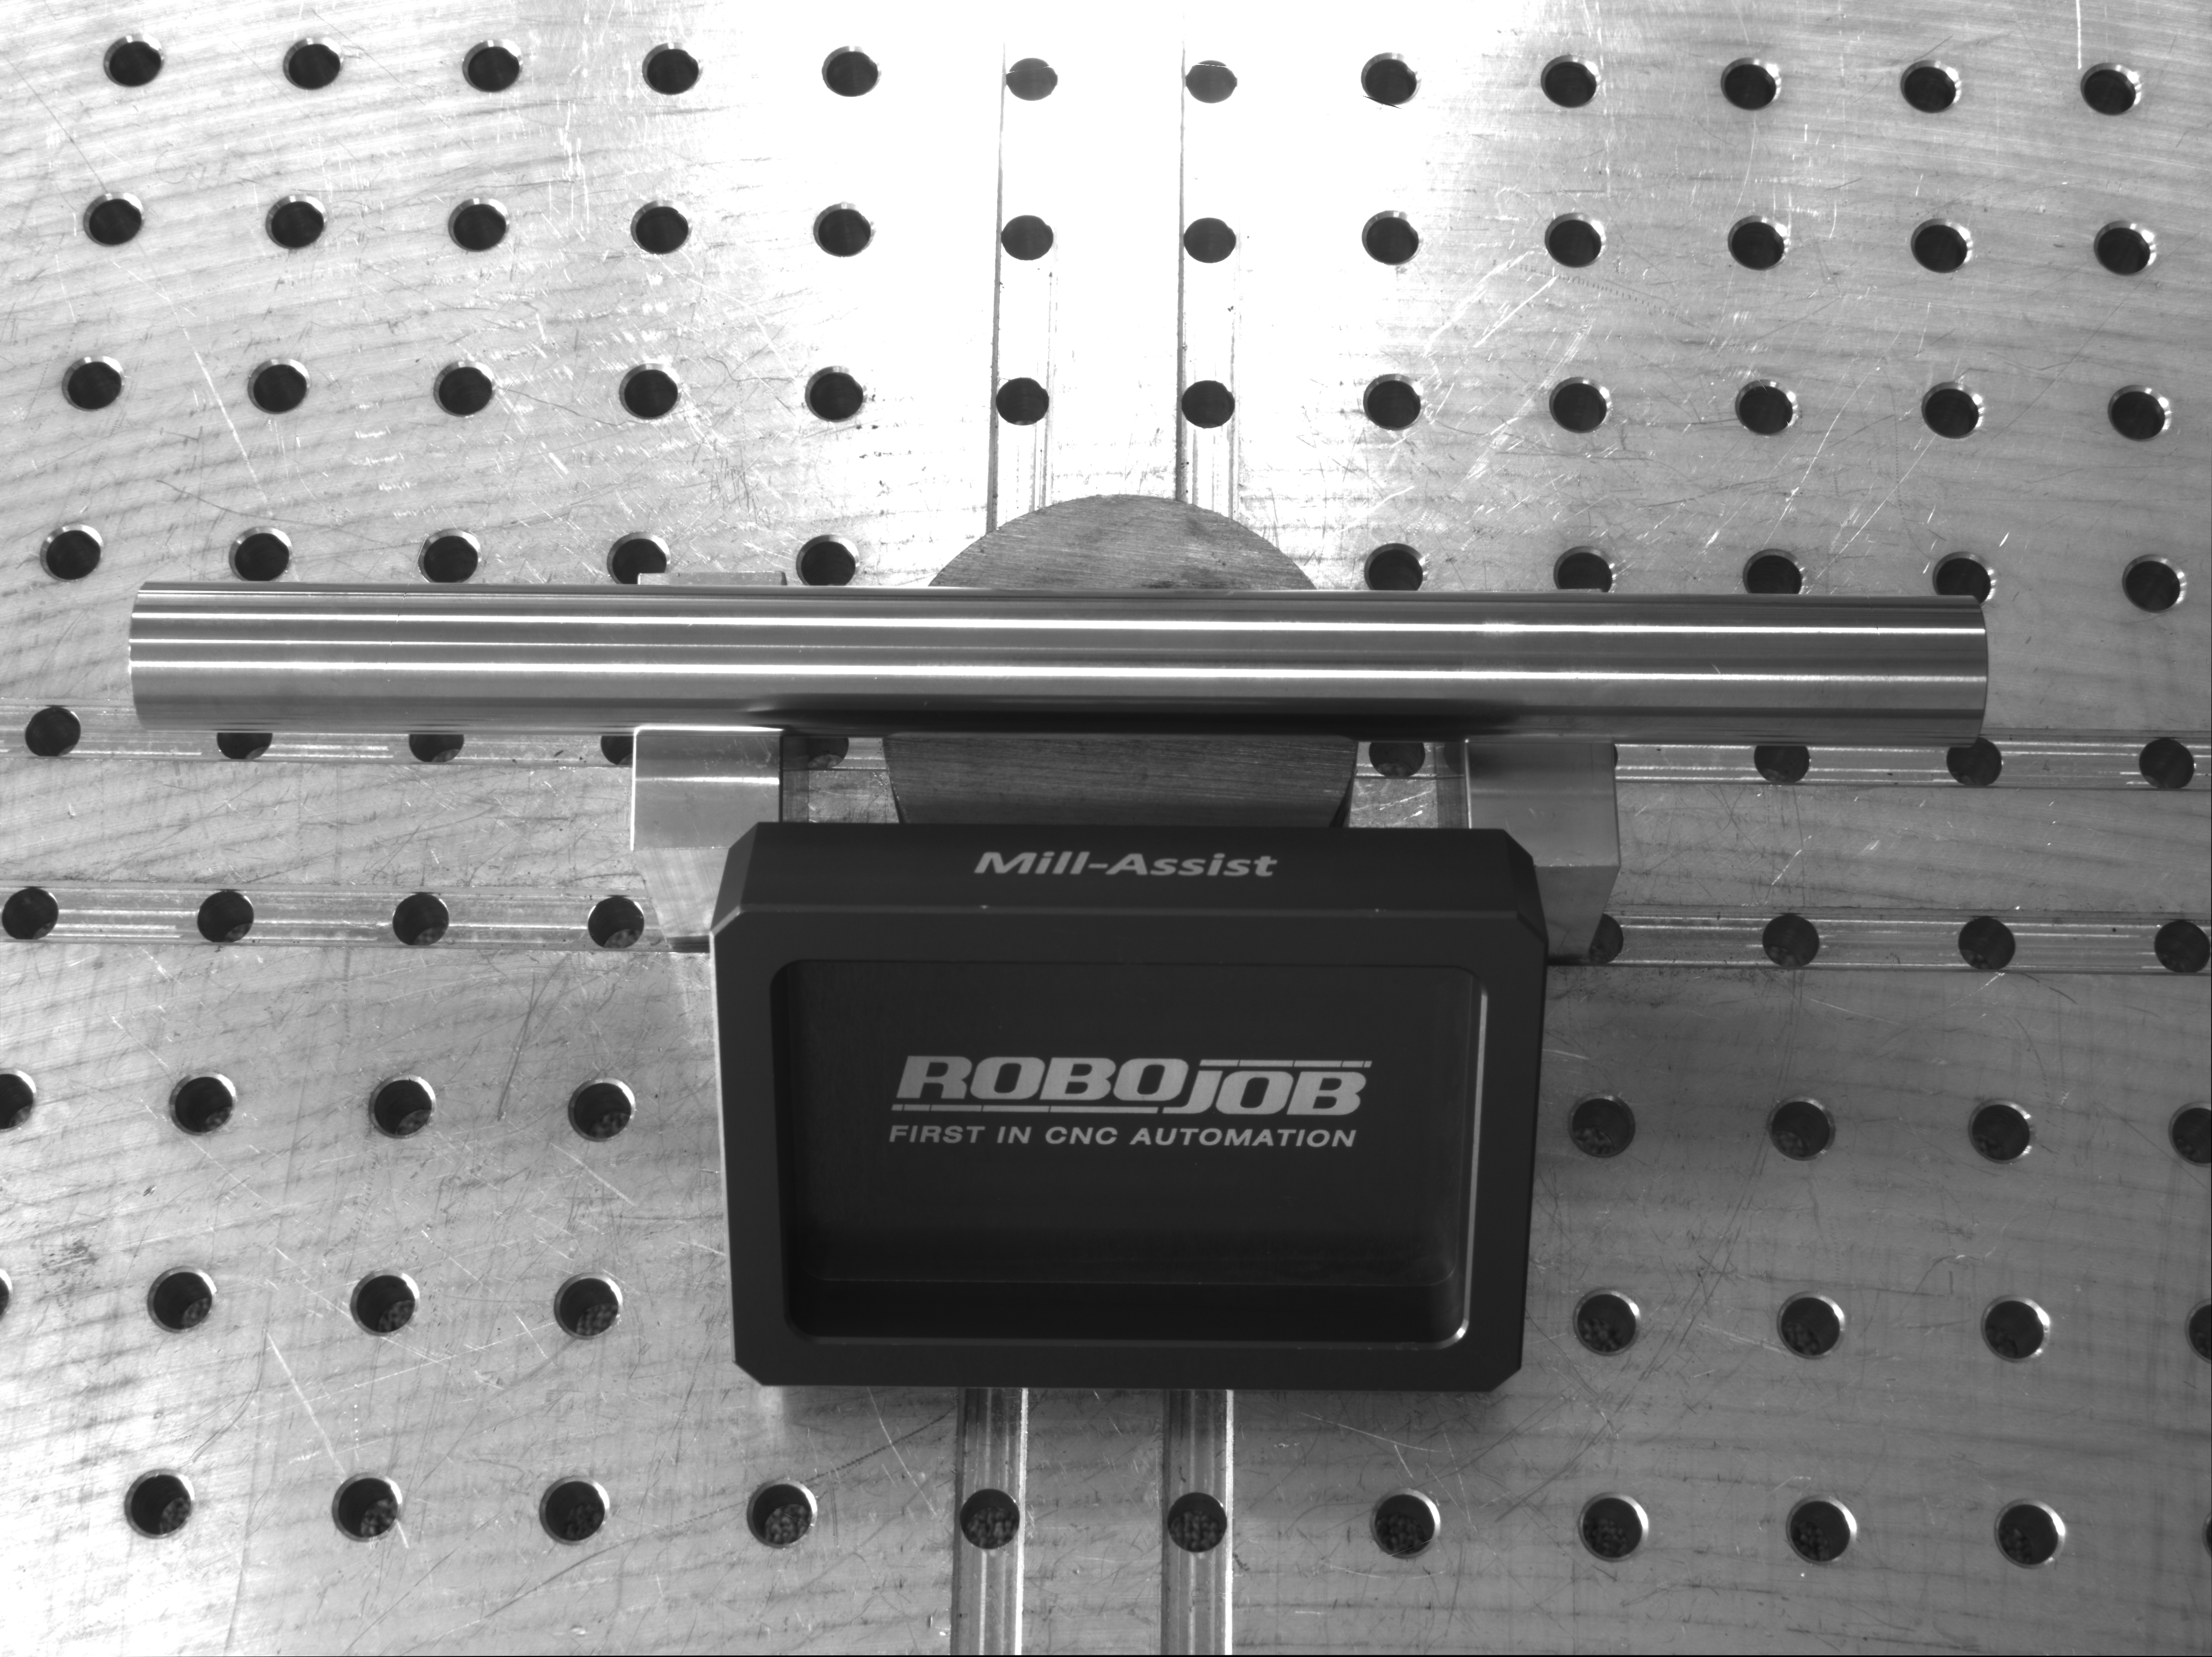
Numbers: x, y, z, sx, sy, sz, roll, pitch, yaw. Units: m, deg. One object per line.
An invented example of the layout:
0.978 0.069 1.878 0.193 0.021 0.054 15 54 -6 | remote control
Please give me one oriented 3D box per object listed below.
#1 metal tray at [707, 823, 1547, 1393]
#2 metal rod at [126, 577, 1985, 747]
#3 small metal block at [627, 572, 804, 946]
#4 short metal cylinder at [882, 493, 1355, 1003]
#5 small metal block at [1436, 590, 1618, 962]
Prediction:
0.003 0.046 0.598 0.130 0.090 0.030 0 27 0 | metal tray
-0.008 -0.027 0.604 0.300 0.025 0.025 1 70 1 | metal rod
-0.067 -0.011 0.638 0.025 0.050 0.050 -1 70 0 | small metal block
0.002 -0.011 0.638 0.080 0.050 0.080 0 70 0 | short metal cylinder
0.072 -0.008 0.637 0.025 0.050 0.050 -1 70 0 | small metal block
